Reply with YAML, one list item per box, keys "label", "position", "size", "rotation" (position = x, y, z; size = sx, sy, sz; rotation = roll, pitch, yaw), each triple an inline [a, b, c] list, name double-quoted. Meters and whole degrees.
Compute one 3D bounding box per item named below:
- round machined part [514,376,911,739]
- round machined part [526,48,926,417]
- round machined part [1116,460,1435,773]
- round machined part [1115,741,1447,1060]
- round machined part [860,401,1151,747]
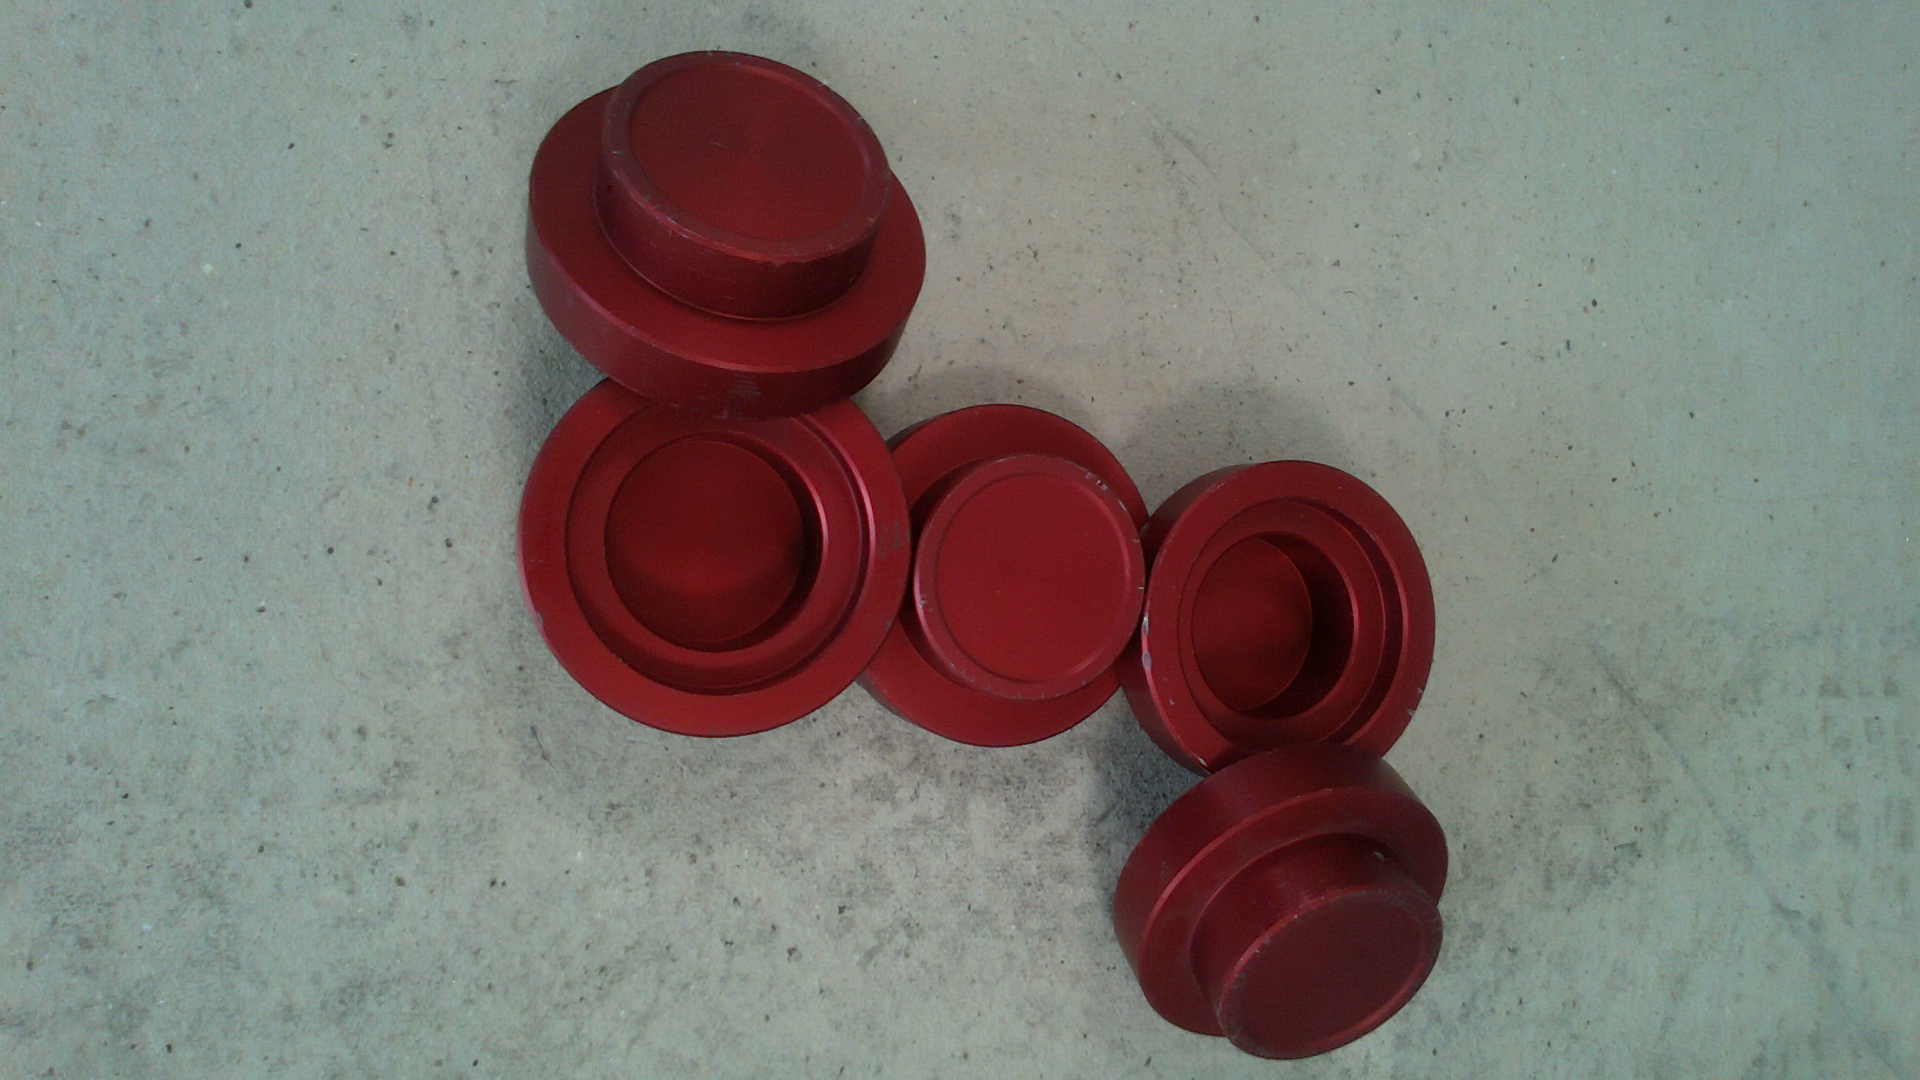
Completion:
- label: "round machined part"
  position: [-0.065, 0.000, 0.360]
  size: [0.098, 0.042, 0.098]
  rotation: [0, 90, -19]
- label: "round machined part"
  position: [-0.055, -0.082, 0.340]
  size: [0.098, 0.042, 0.098]
  rotation: [10, 56, -15]
- label: "round machined part"
  position: [0.090, 0.026, 0.417]
  size: [0.098, 0.042, 0.098]
  rotation: [0, 90, -19]
- label: "round machined part"
  position: [0.097, 0.110, 0.396]
  size: [0.098, 0.042, 0.098]
  rotation: [-9, 122, -14]
- label: "round machined part"
  position: [0.014, 0.009, 0.388]
  size: [0.098, 0.042, 0.098]
  rotation: [1, 88, -19]
